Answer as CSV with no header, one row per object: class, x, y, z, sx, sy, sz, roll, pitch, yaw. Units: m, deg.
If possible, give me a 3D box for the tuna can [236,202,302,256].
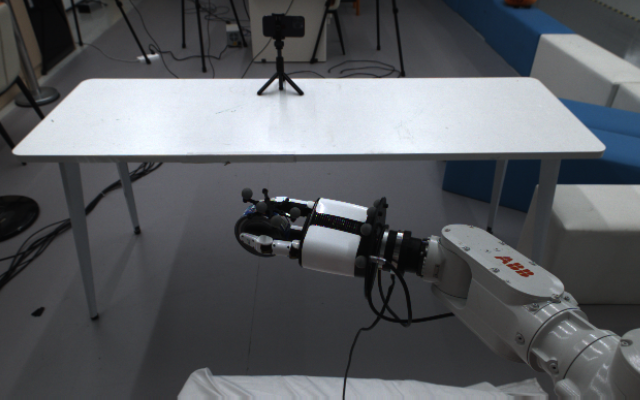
tuna can,-0.091,0.050,0.777,0.085,0.085,0.034,9,35,10
